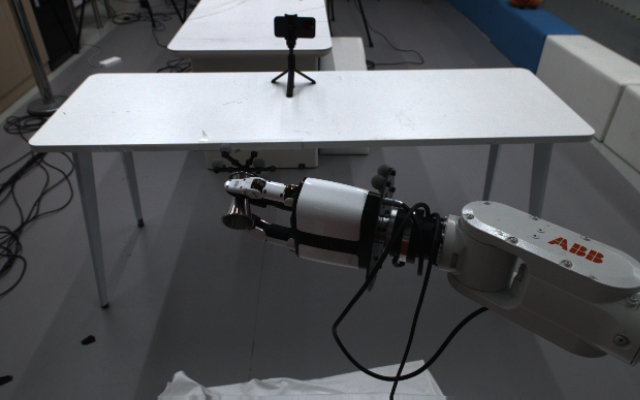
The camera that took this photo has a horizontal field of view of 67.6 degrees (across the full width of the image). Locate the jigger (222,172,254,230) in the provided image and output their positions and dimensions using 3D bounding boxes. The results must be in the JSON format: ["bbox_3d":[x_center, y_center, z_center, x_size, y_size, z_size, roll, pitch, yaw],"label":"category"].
[{"bbox_3d":[-0.107,-0.002,0.653,0.043,0.043,0.071,2,59,0],"label":"jigger"}]
